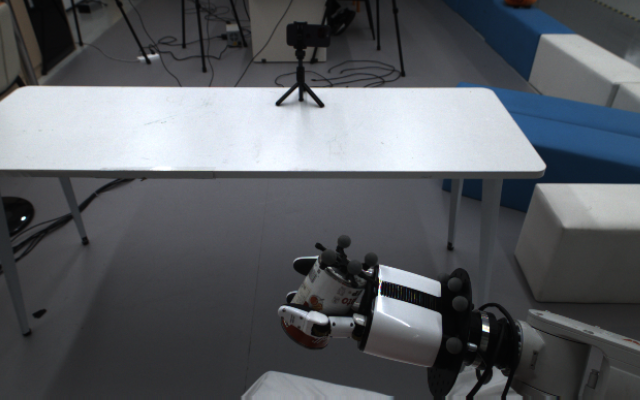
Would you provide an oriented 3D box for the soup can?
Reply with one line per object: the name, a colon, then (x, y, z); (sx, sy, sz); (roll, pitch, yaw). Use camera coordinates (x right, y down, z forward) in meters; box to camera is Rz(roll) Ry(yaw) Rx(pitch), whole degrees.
soup can: (0.005, 0.123, 0.593); (0.067, 0.101, 0.067); (28, 18, -10)
